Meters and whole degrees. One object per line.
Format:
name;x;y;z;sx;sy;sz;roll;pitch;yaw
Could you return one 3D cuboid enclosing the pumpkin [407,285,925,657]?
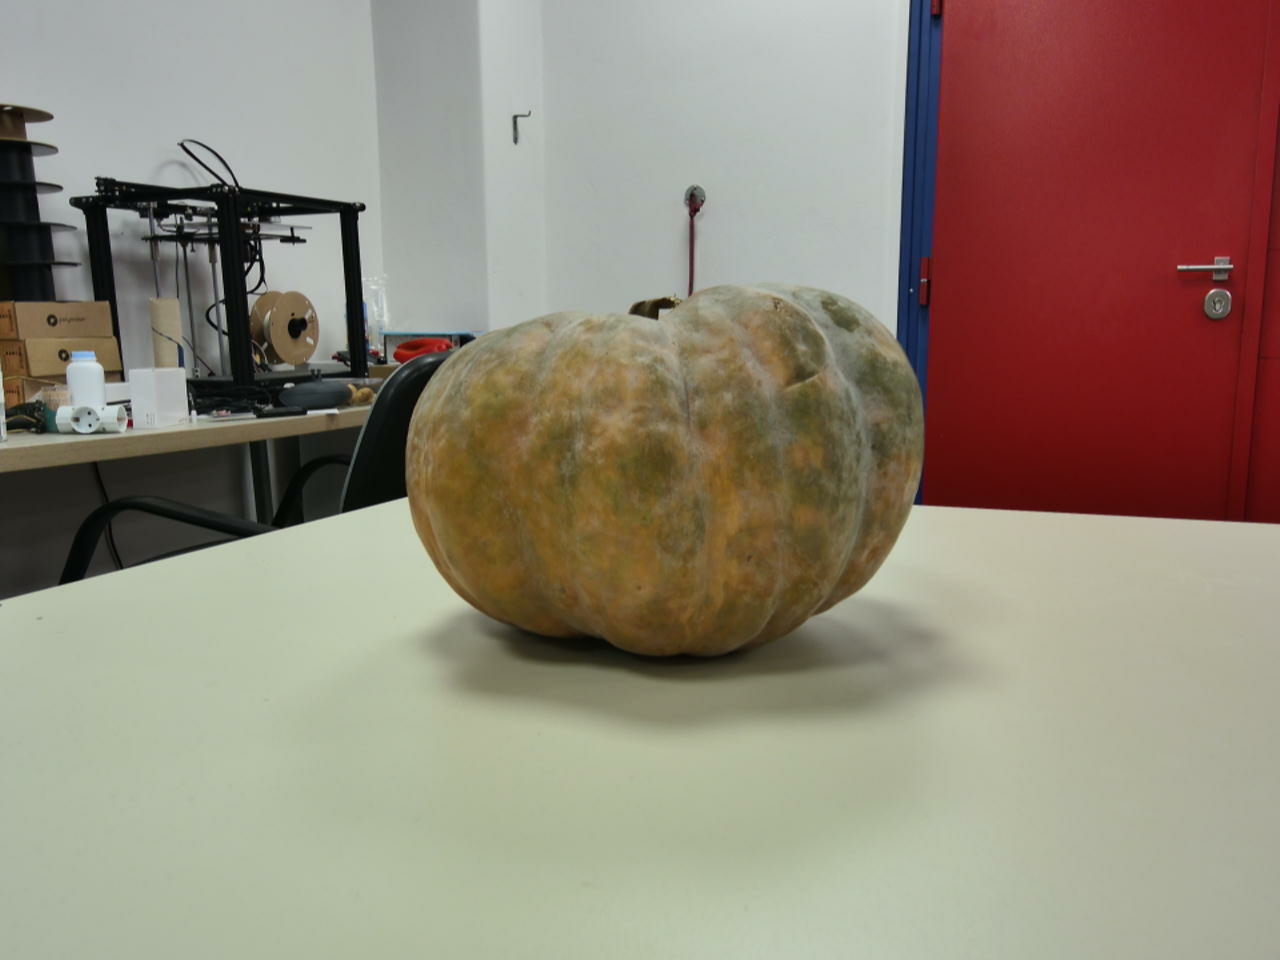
pumpkin;0.007;-0.009;0.495;0.252;0.168;0.252;0;6;0
